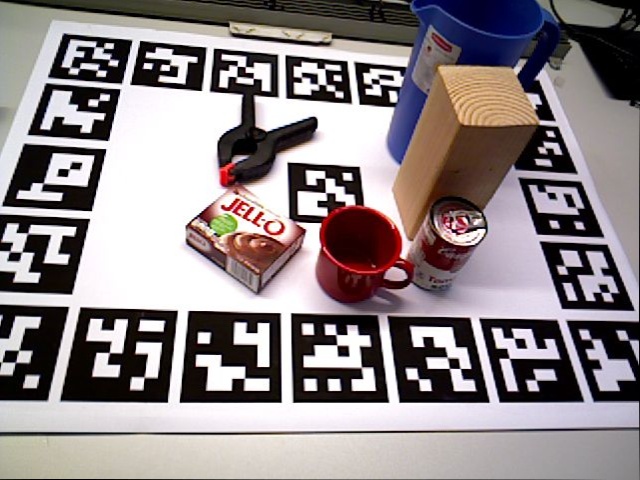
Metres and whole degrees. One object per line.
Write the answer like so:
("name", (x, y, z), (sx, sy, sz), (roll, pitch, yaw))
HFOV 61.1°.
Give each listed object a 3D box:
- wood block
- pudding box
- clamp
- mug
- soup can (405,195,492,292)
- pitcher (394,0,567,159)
("wood block", (0.161, -0.096, 0.625), (0.089, 0.211, 0.090), (2, 55, -13))
("pudding box", (-0.096, -0.005, 0.630), (0.114, 0.039, 0.088), (33, 60, 14))
("clamp", (-0.085, -0.133, 0.726), (0.121, 0.037, 0.161), (30, 56, 2))
("mug", (0.049, 0.026, 0.602), (0.117, 0.083, 0.091), (31, 54, 13))
("soup can", (0.141, 0.007, 0.616), (0.067, 0.104, 0.067), (4, 57, -7))
("pitcher", (0.181, -0.203, 0.682), (0.187, 0.248, 0.131), (1, 53, -6))
